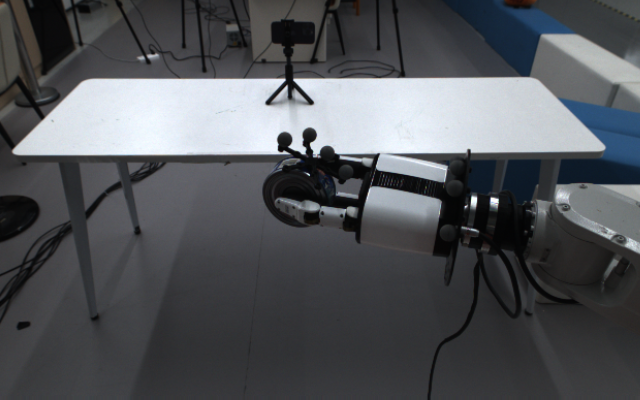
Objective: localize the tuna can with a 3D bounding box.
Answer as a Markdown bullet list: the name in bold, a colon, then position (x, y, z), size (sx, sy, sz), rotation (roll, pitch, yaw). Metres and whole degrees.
- **tuna can**: position (-0.023, -0.003, 0.589), size (0.085, 0.085, 0.034), rotation (12, 35, 14)
